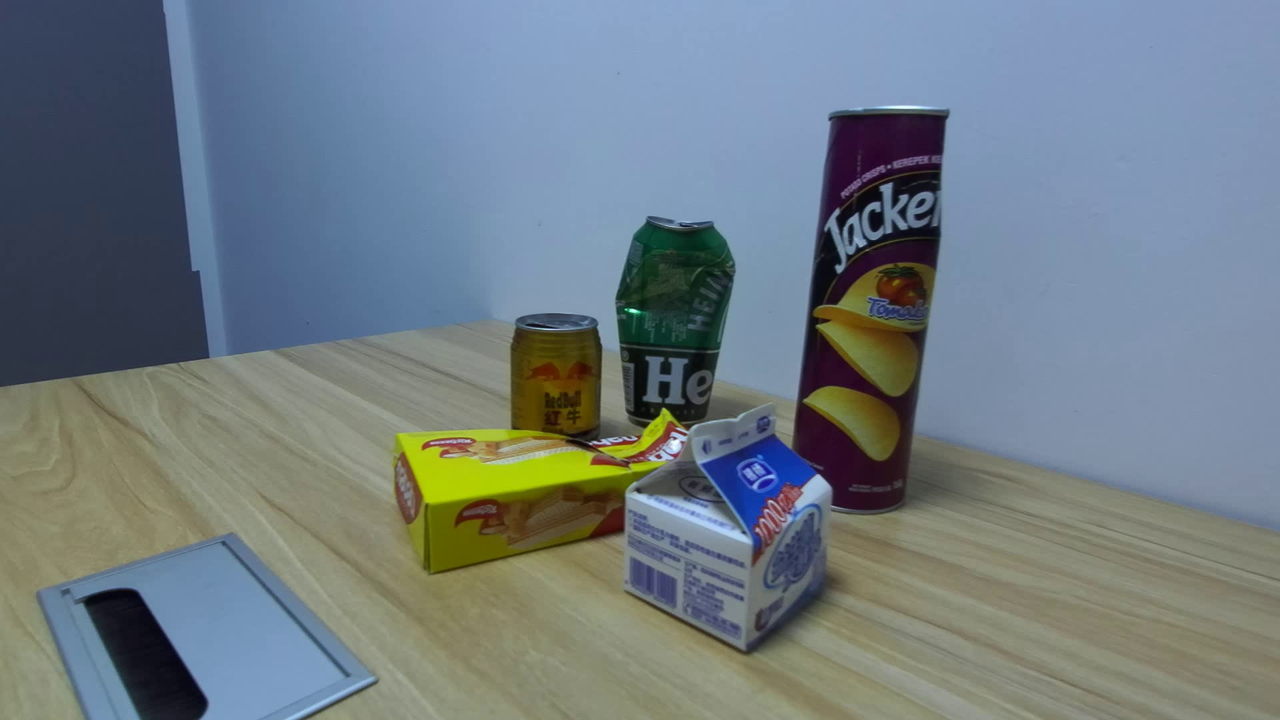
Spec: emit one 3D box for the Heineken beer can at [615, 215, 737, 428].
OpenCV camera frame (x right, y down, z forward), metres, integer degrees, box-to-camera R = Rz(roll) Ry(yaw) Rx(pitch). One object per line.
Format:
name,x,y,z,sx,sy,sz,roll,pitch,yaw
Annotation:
Heineken beer can,0.023,-0.029,0.558,0.066,0.164,0.077,-12,23,-43

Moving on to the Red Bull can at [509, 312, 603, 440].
Red Bull can,-0.061,0.018,0.516,0.067,0.093,0.067,2,14,0

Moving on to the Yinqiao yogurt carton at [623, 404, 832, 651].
Yinqiao yogurt carton,0.043,0.068,0.333,0.073,0.092,0.076,15,19,38

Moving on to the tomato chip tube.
tomato chip tube,0.141,-0.029,0.434,0.076,0.235,0.078,10,17,25

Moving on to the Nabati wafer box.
Nabati wafer box,-0.037,0.067,0.431,0.205,0.042,0.106,-5,17,-28
